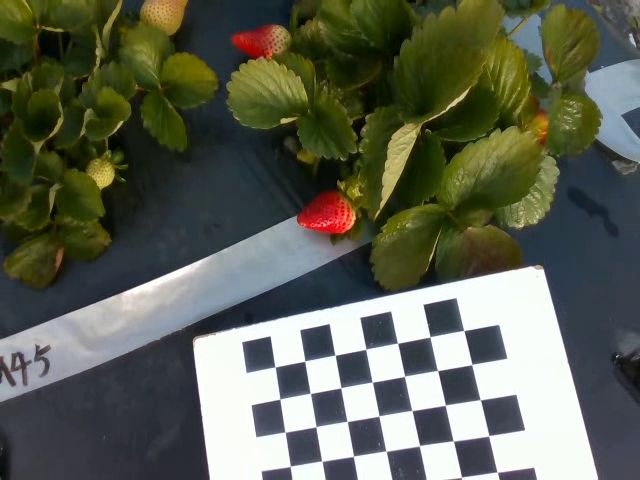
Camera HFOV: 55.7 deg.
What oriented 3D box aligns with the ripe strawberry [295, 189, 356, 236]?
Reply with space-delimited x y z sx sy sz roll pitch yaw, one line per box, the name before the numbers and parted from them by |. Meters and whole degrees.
ripe strawberry | 0.003 -0.018 0.445 0.055 0.050 0.035 -16 -8 -8
